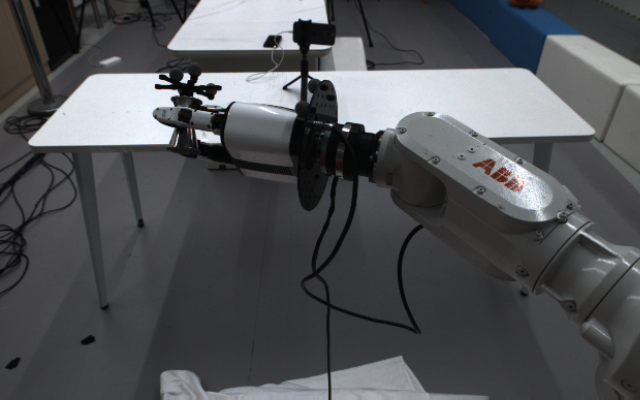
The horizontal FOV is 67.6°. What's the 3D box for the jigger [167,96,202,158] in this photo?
[{"bbox_3d":[-0.175,-0.097,0.631,0.043,0.071,0.043,2,-6,0],"label":"jigger"}]
